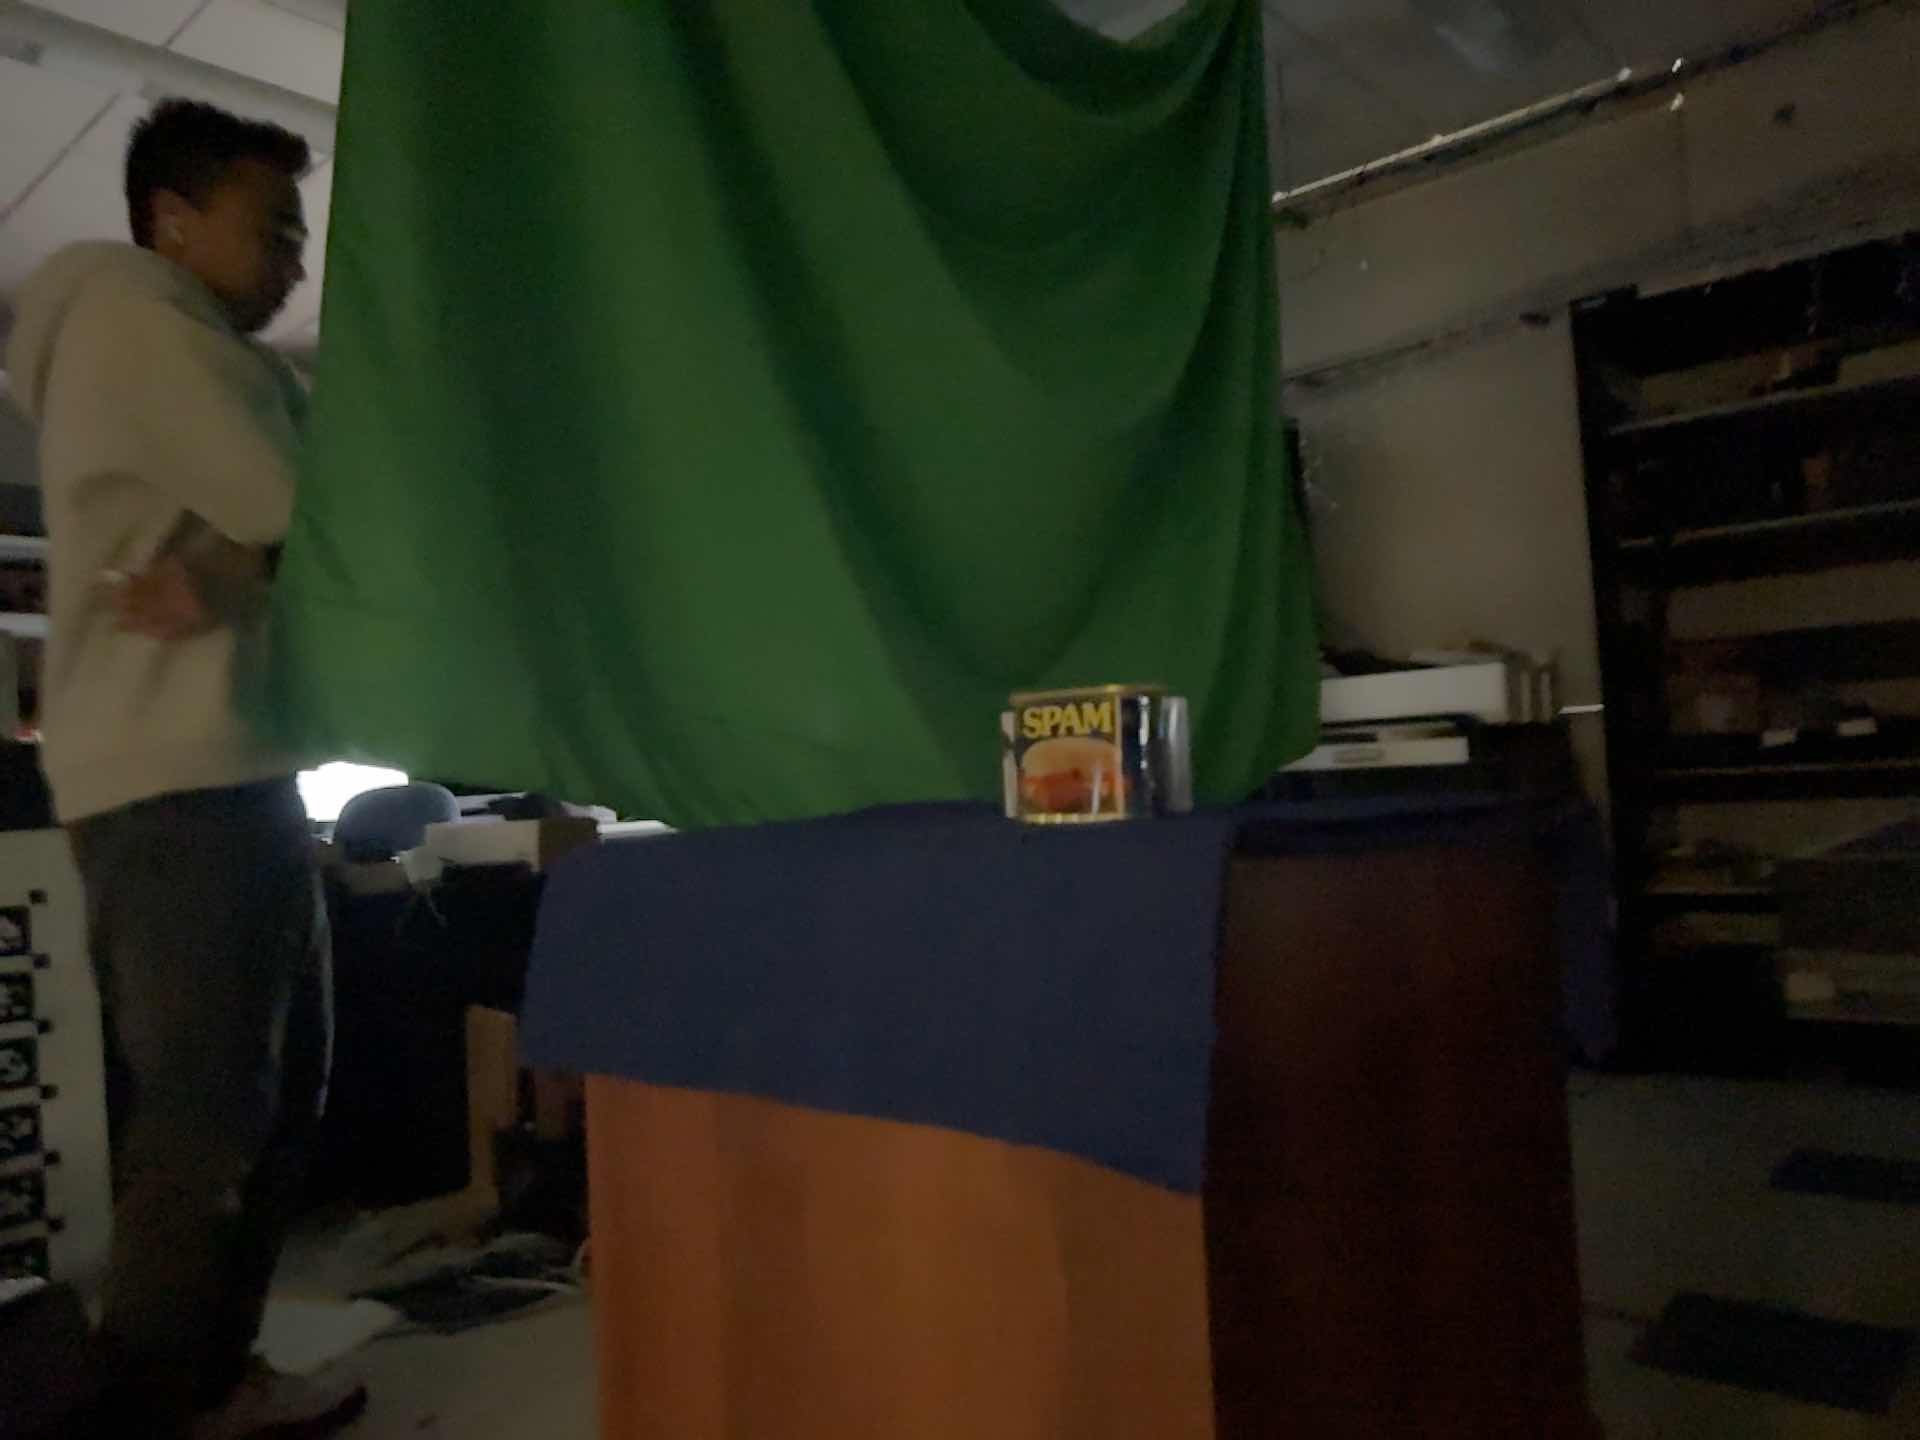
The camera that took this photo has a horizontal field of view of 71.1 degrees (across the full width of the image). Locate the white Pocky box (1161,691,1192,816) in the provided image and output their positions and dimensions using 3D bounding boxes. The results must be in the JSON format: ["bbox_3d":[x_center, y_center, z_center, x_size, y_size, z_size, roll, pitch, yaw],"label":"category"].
[{"bbox_3d":[0.098,0.026,0.951,0.028,0.084,0.154,1,-4,-38],"label":"white Pocky box"}]

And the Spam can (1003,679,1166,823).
[{"bbox_3d":[0.075,0.020,0.827,0.100,0.083,0.056,-2,-3,43],"label":"Spam can"}]
